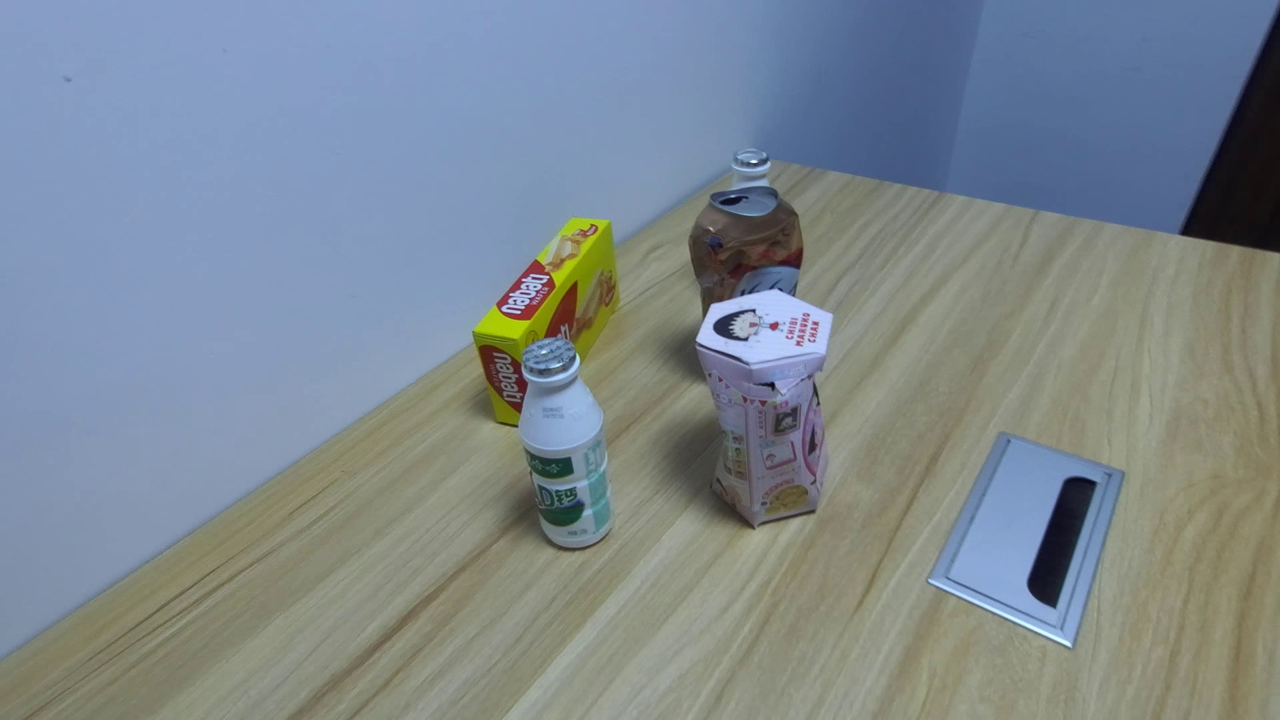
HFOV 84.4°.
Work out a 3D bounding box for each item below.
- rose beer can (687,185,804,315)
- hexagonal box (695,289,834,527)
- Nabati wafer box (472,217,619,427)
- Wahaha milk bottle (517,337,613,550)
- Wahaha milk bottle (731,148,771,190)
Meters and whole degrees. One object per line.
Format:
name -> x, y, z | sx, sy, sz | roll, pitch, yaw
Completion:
rose beer can -> 0.083, -0.055, 0.563 | 0.068, 0.162, 0.074 | 21, 42, 30
hexagonal box -> 0.081, 0.034, 0.470 | 0.091, 0.135, 0.089 | -24, 38, -22
Nabati wafer box -> -0.072, -0.041, 0.628 | 0.042, 0.093, 0.203 | 7, 38, 18
Wahaha milk bottle -> -0.048, 0.055, 0.449 | 0.053, 0.147, 0.053 | -4, 36, 3
Wahaha milk bottle -> 0.103, -0.125, 0.667 | 0.056, 0.148, 0.056 | -2, 39, 2
